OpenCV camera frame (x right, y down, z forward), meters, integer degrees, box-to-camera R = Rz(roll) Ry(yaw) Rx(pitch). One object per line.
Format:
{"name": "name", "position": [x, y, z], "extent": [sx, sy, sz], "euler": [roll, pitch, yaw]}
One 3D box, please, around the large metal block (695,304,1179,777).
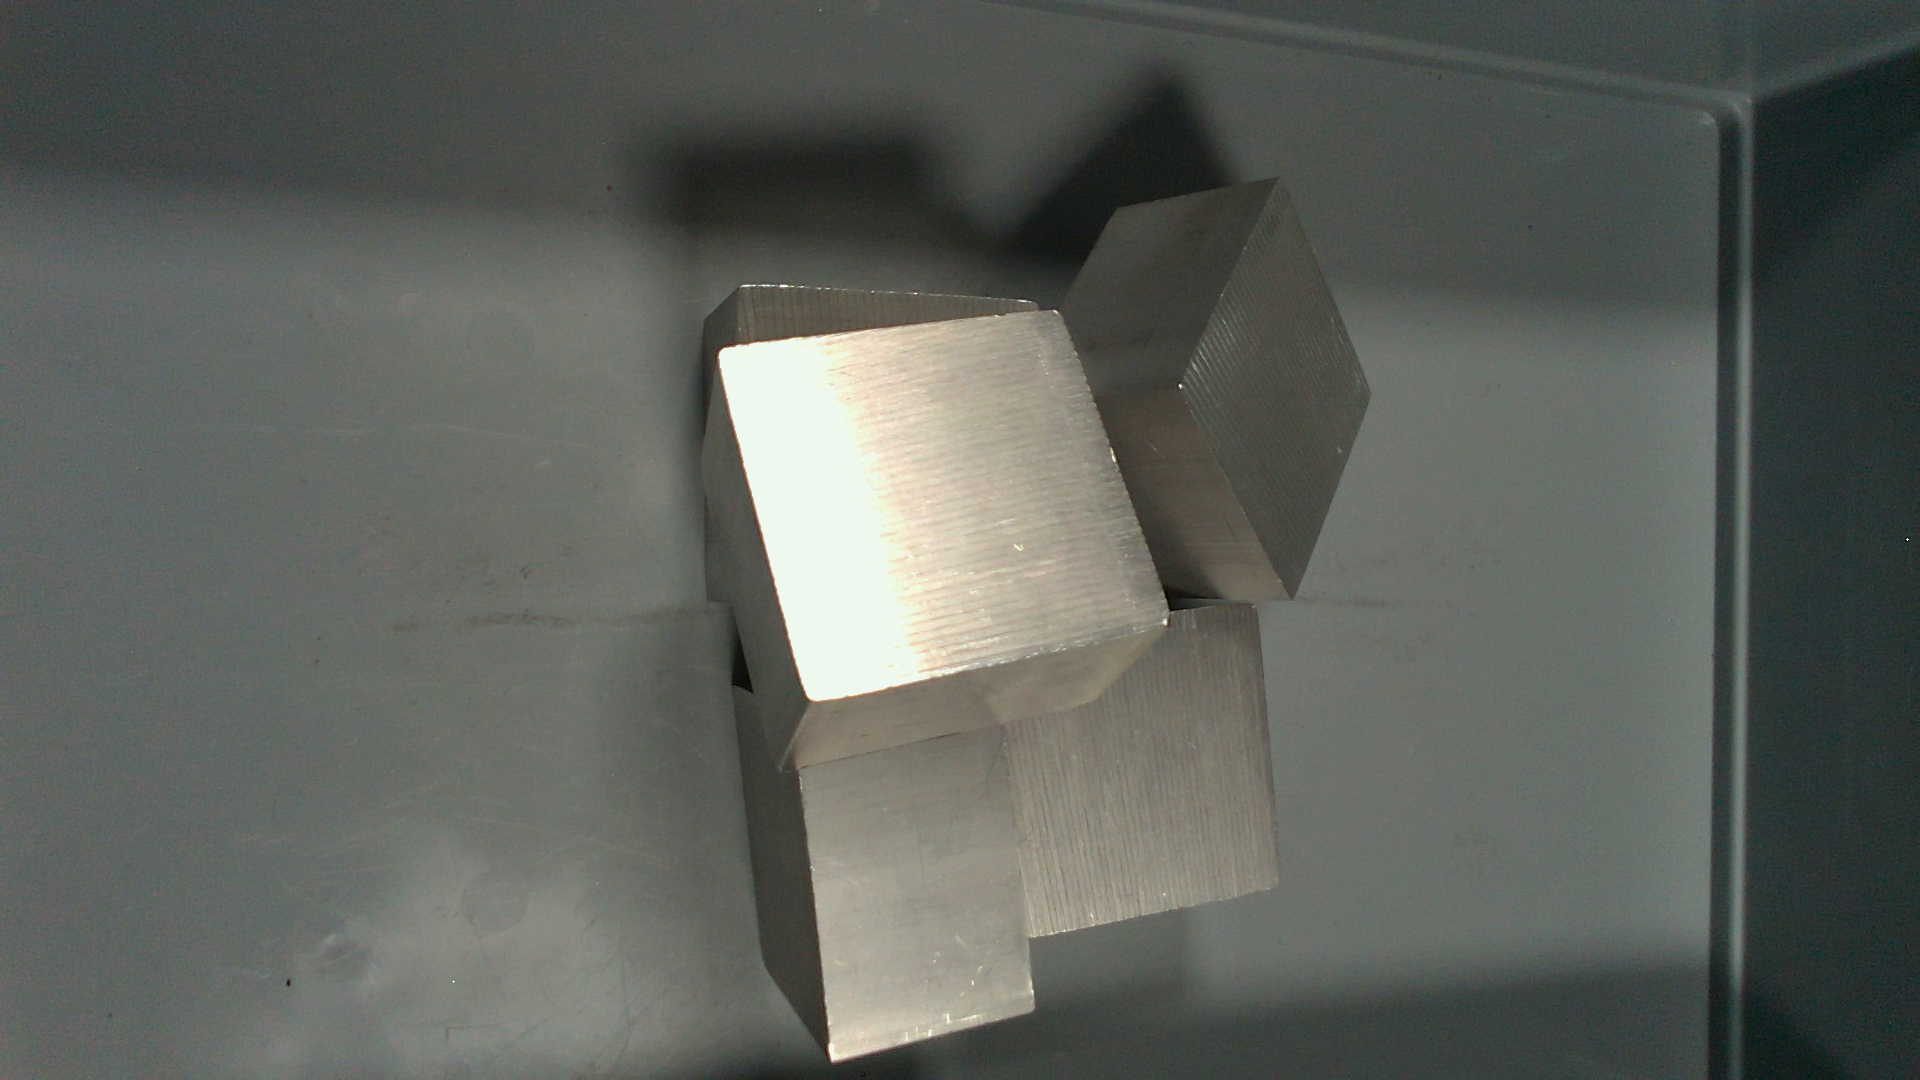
{"name": "large metal block", "position": [-0.009, -0.001, 0.307], "extent": [0.080, 0.050, 0.080], "euler": [-10, 68, -19]}

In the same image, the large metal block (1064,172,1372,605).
{"name": "large metal block", "position": [0.066, -0.039, 0.376], "extent": [0.080, 0.050, 0.080], "euler": [54, 50, -36]}

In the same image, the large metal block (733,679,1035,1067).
{"name": "large metal block", "position": [-0.023, 0.076, 0.355], "extent": [0.050, 0.080, 0.080], "euler": [-7, 93, -20]}

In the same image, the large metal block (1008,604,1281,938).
{"name": "large metal block", "position": [0.040, 0.060, 0.391], "extent": [0.080, 0.050, 0.080], "euler": [-6, 92, -20]}

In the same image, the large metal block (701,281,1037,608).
{"name": "large metal block", "position": [-0.025, -0.024, 0.370], "extent": [0.080, 0.050, 0.080], "euler": [-1, 91, -20]}
